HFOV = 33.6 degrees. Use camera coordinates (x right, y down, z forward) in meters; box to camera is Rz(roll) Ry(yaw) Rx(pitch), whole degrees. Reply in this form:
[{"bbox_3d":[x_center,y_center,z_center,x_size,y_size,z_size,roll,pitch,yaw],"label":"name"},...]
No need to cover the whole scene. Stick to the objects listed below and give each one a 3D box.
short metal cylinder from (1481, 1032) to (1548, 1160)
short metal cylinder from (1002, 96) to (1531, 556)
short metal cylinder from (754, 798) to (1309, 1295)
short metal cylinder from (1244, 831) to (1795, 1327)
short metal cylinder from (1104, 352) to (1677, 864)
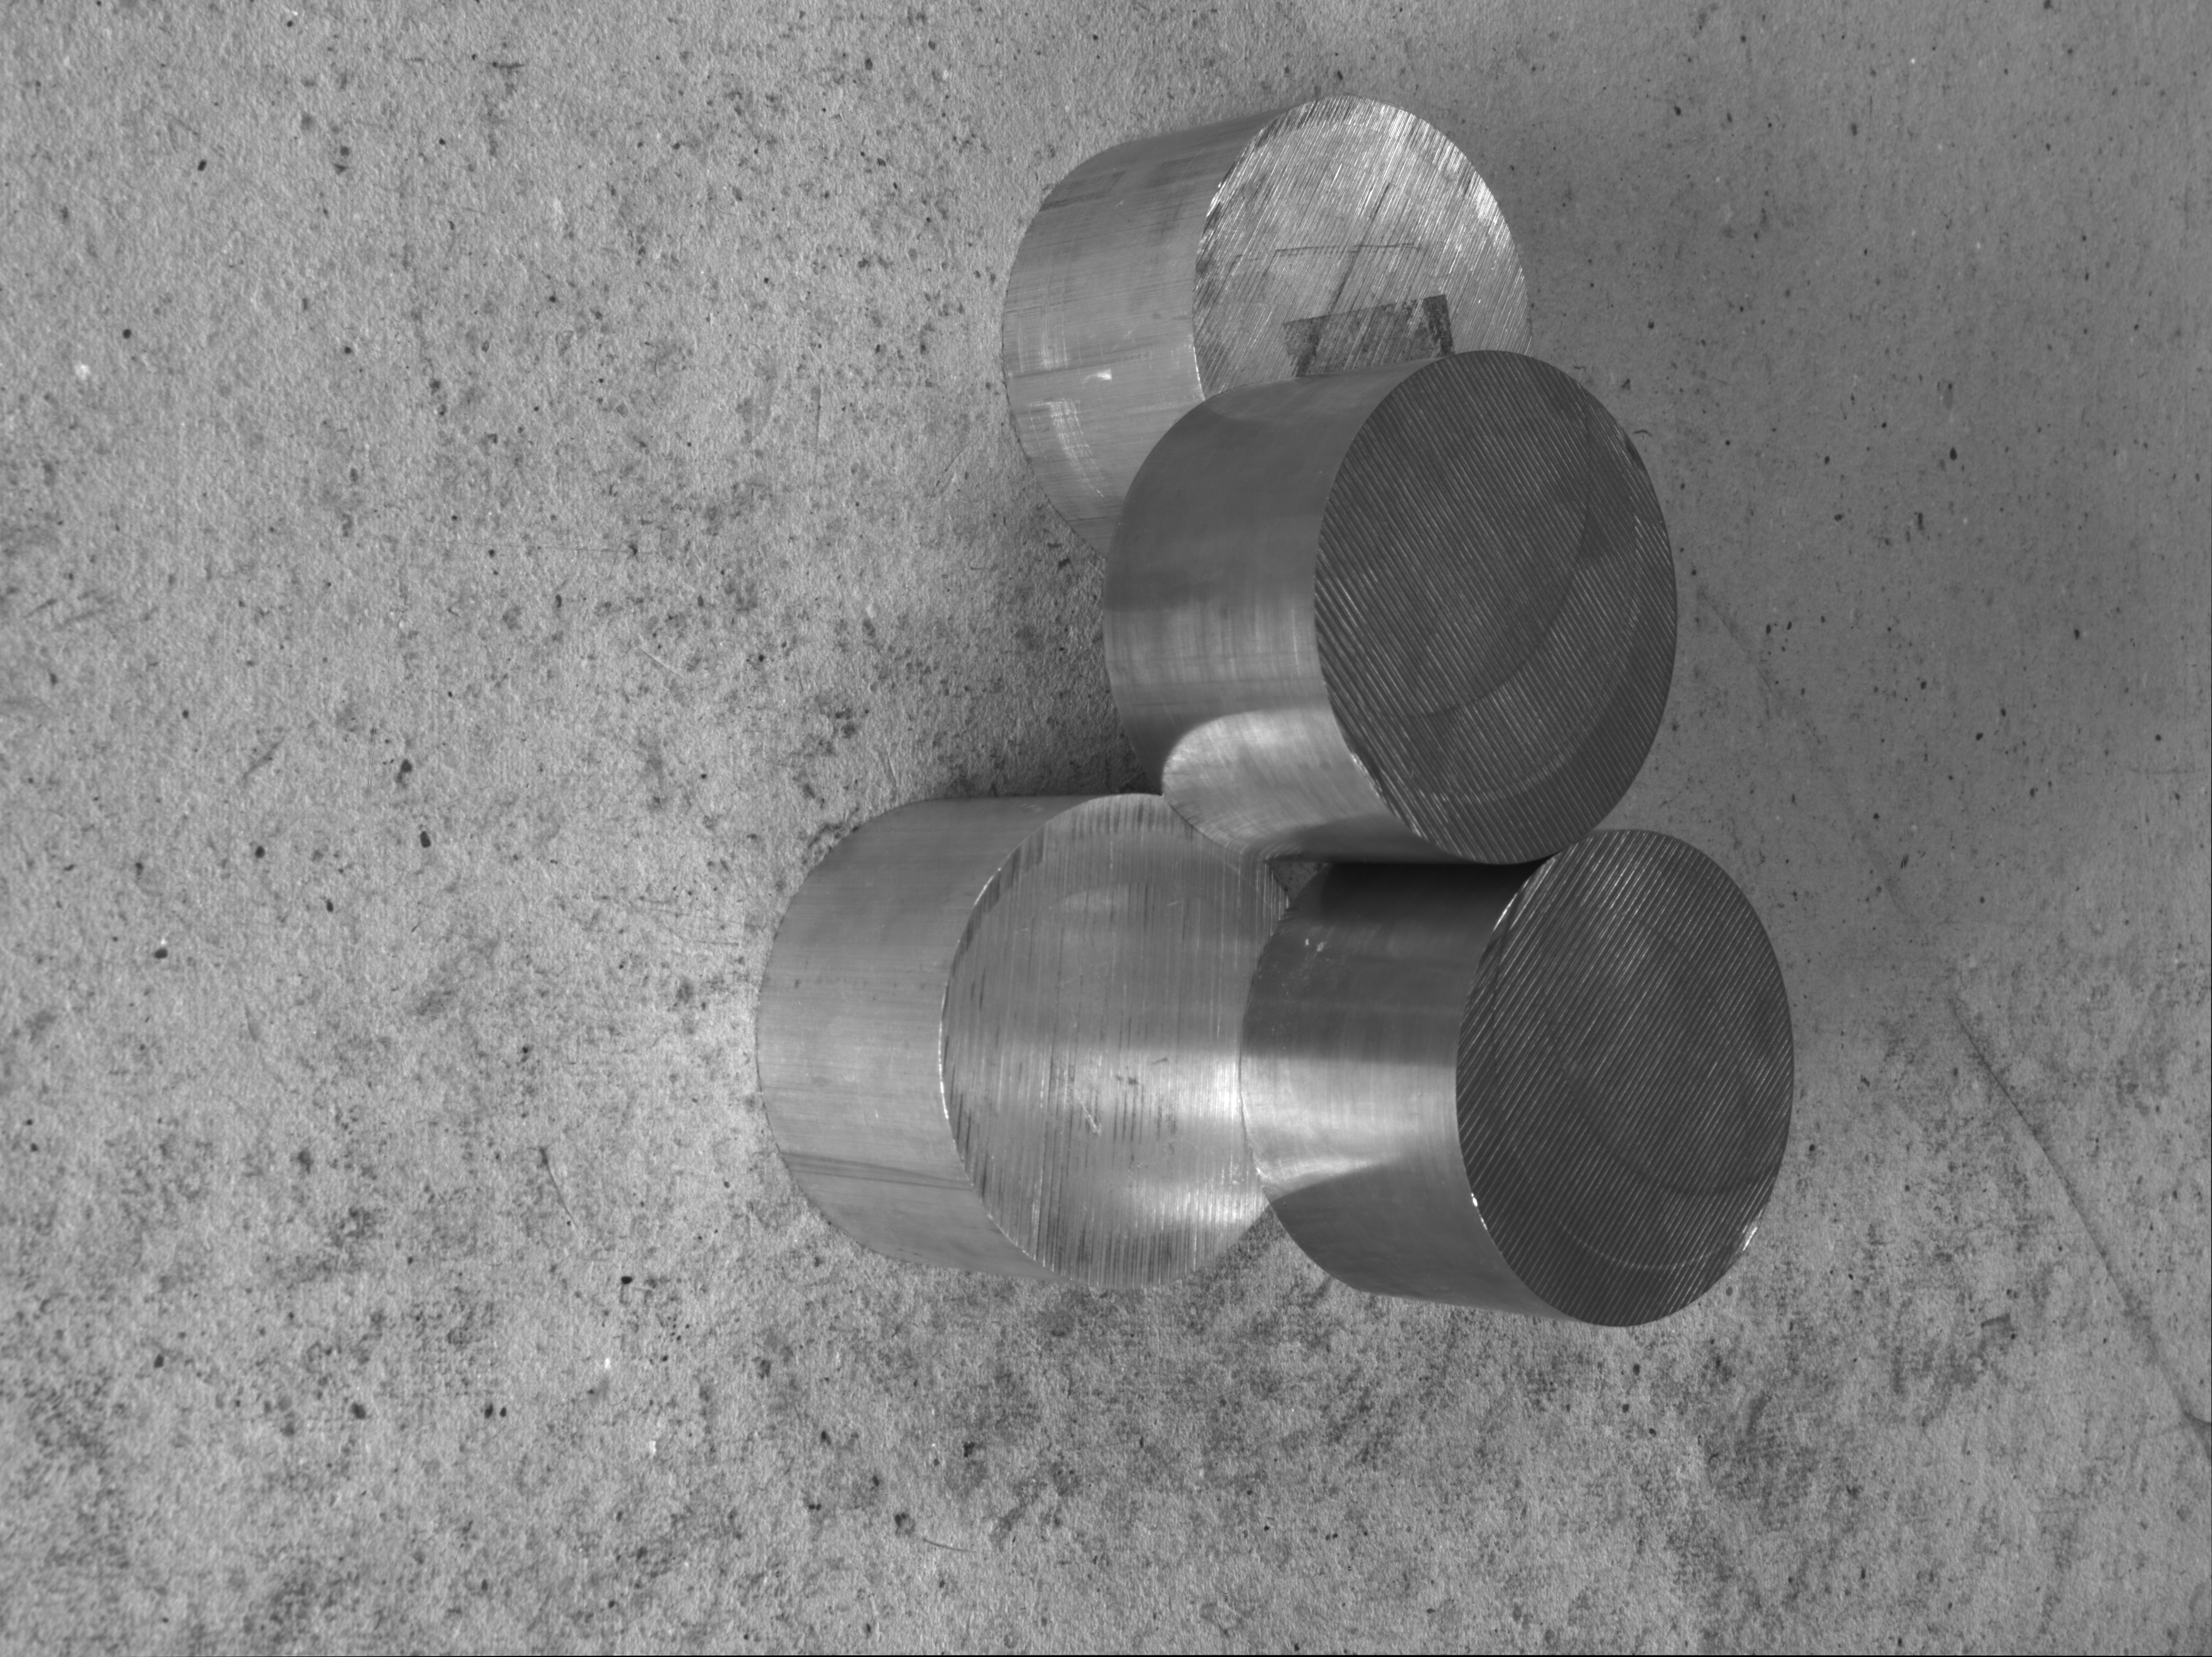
[{"bbox_3d":[0.078,0.047,0.684,0.080,0.050,0.080,0,90,-40],"label":"short metal cylinder"},{"bbox_3d":[0.029,-0.084,0.644,0.080,0.050,0.080,0,90,-40],"label":"short metal cylinder"},{"bbox_3d":[-0.011,0.035,0.610,0.080,0.050,0.080,0,90,-40],"label":"short metal cylinder"},{"bbox_3d":[0.069,0.041,0.611,0.080,0.050,0.080,0,89,-40],"label":"short metal cylinder"},{"bbox_3d":[0.046,-0.034,0.593,0.080,0.050,0.080,0,90,-39],"label":"short metal cylinder"}]
